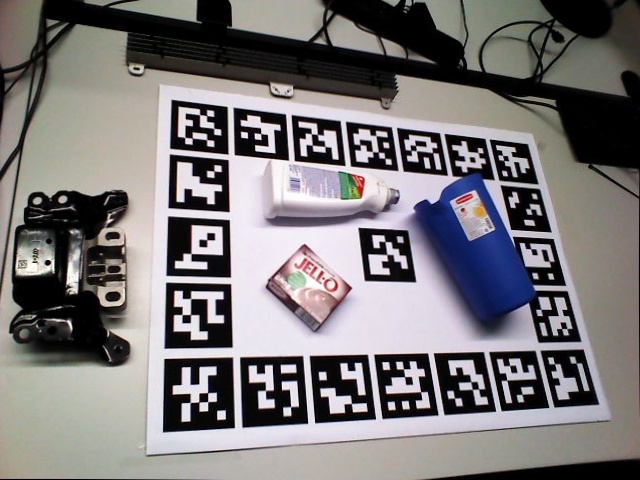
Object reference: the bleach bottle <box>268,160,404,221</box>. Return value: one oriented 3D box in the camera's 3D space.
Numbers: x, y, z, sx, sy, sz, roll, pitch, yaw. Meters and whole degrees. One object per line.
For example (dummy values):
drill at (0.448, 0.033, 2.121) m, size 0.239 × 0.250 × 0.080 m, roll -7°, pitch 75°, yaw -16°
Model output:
bleach bottle at (0.039, -0.081, 0.906) m, size 0.250 × 0.068 × 0.102 m, roll 1°, pitch 73°, yaw -21°

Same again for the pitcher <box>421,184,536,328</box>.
pitcher at (0.297, 0.027, 0.936) m, size 0.188 × 0.134 × 0.242 m, roll -13°, pitch 76°, yaw -60°

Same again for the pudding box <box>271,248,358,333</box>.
pudding box at (-0.008, 0.079, 0.831) m, size 0.114 × 0.039 × 0.089 m, roll 46°, pitch 56°, yaw 1°
